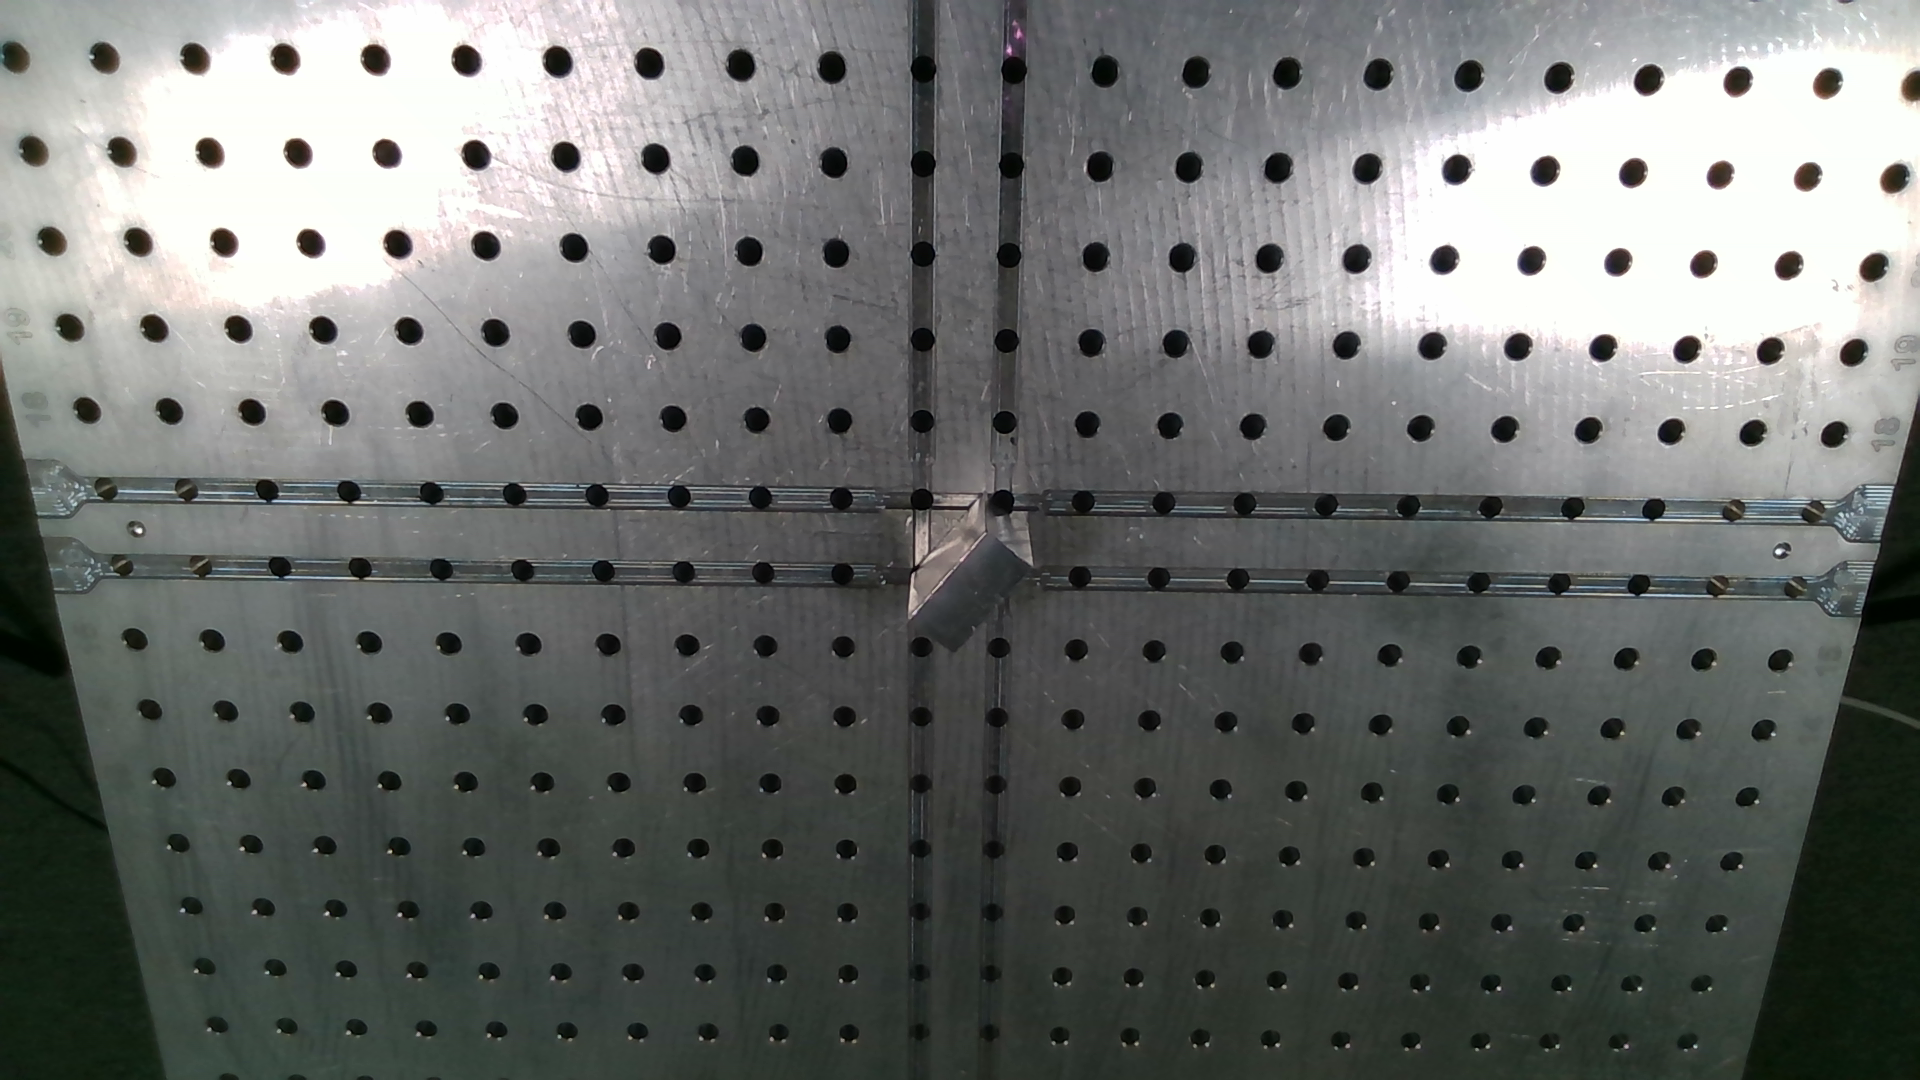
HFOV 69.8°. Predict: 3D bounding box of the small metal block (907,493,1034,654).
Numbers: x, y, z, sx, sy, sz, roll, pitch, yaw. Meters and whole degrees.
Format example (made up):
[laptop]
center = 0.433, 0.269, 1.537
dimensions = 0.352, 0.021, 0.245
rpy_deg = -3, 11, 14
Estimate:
[small metal block]
center = 0.004, 0.013, 0.578
dimensions = 0.025, 0.050, 0.050
rpy_deg = 38, 106, -13
